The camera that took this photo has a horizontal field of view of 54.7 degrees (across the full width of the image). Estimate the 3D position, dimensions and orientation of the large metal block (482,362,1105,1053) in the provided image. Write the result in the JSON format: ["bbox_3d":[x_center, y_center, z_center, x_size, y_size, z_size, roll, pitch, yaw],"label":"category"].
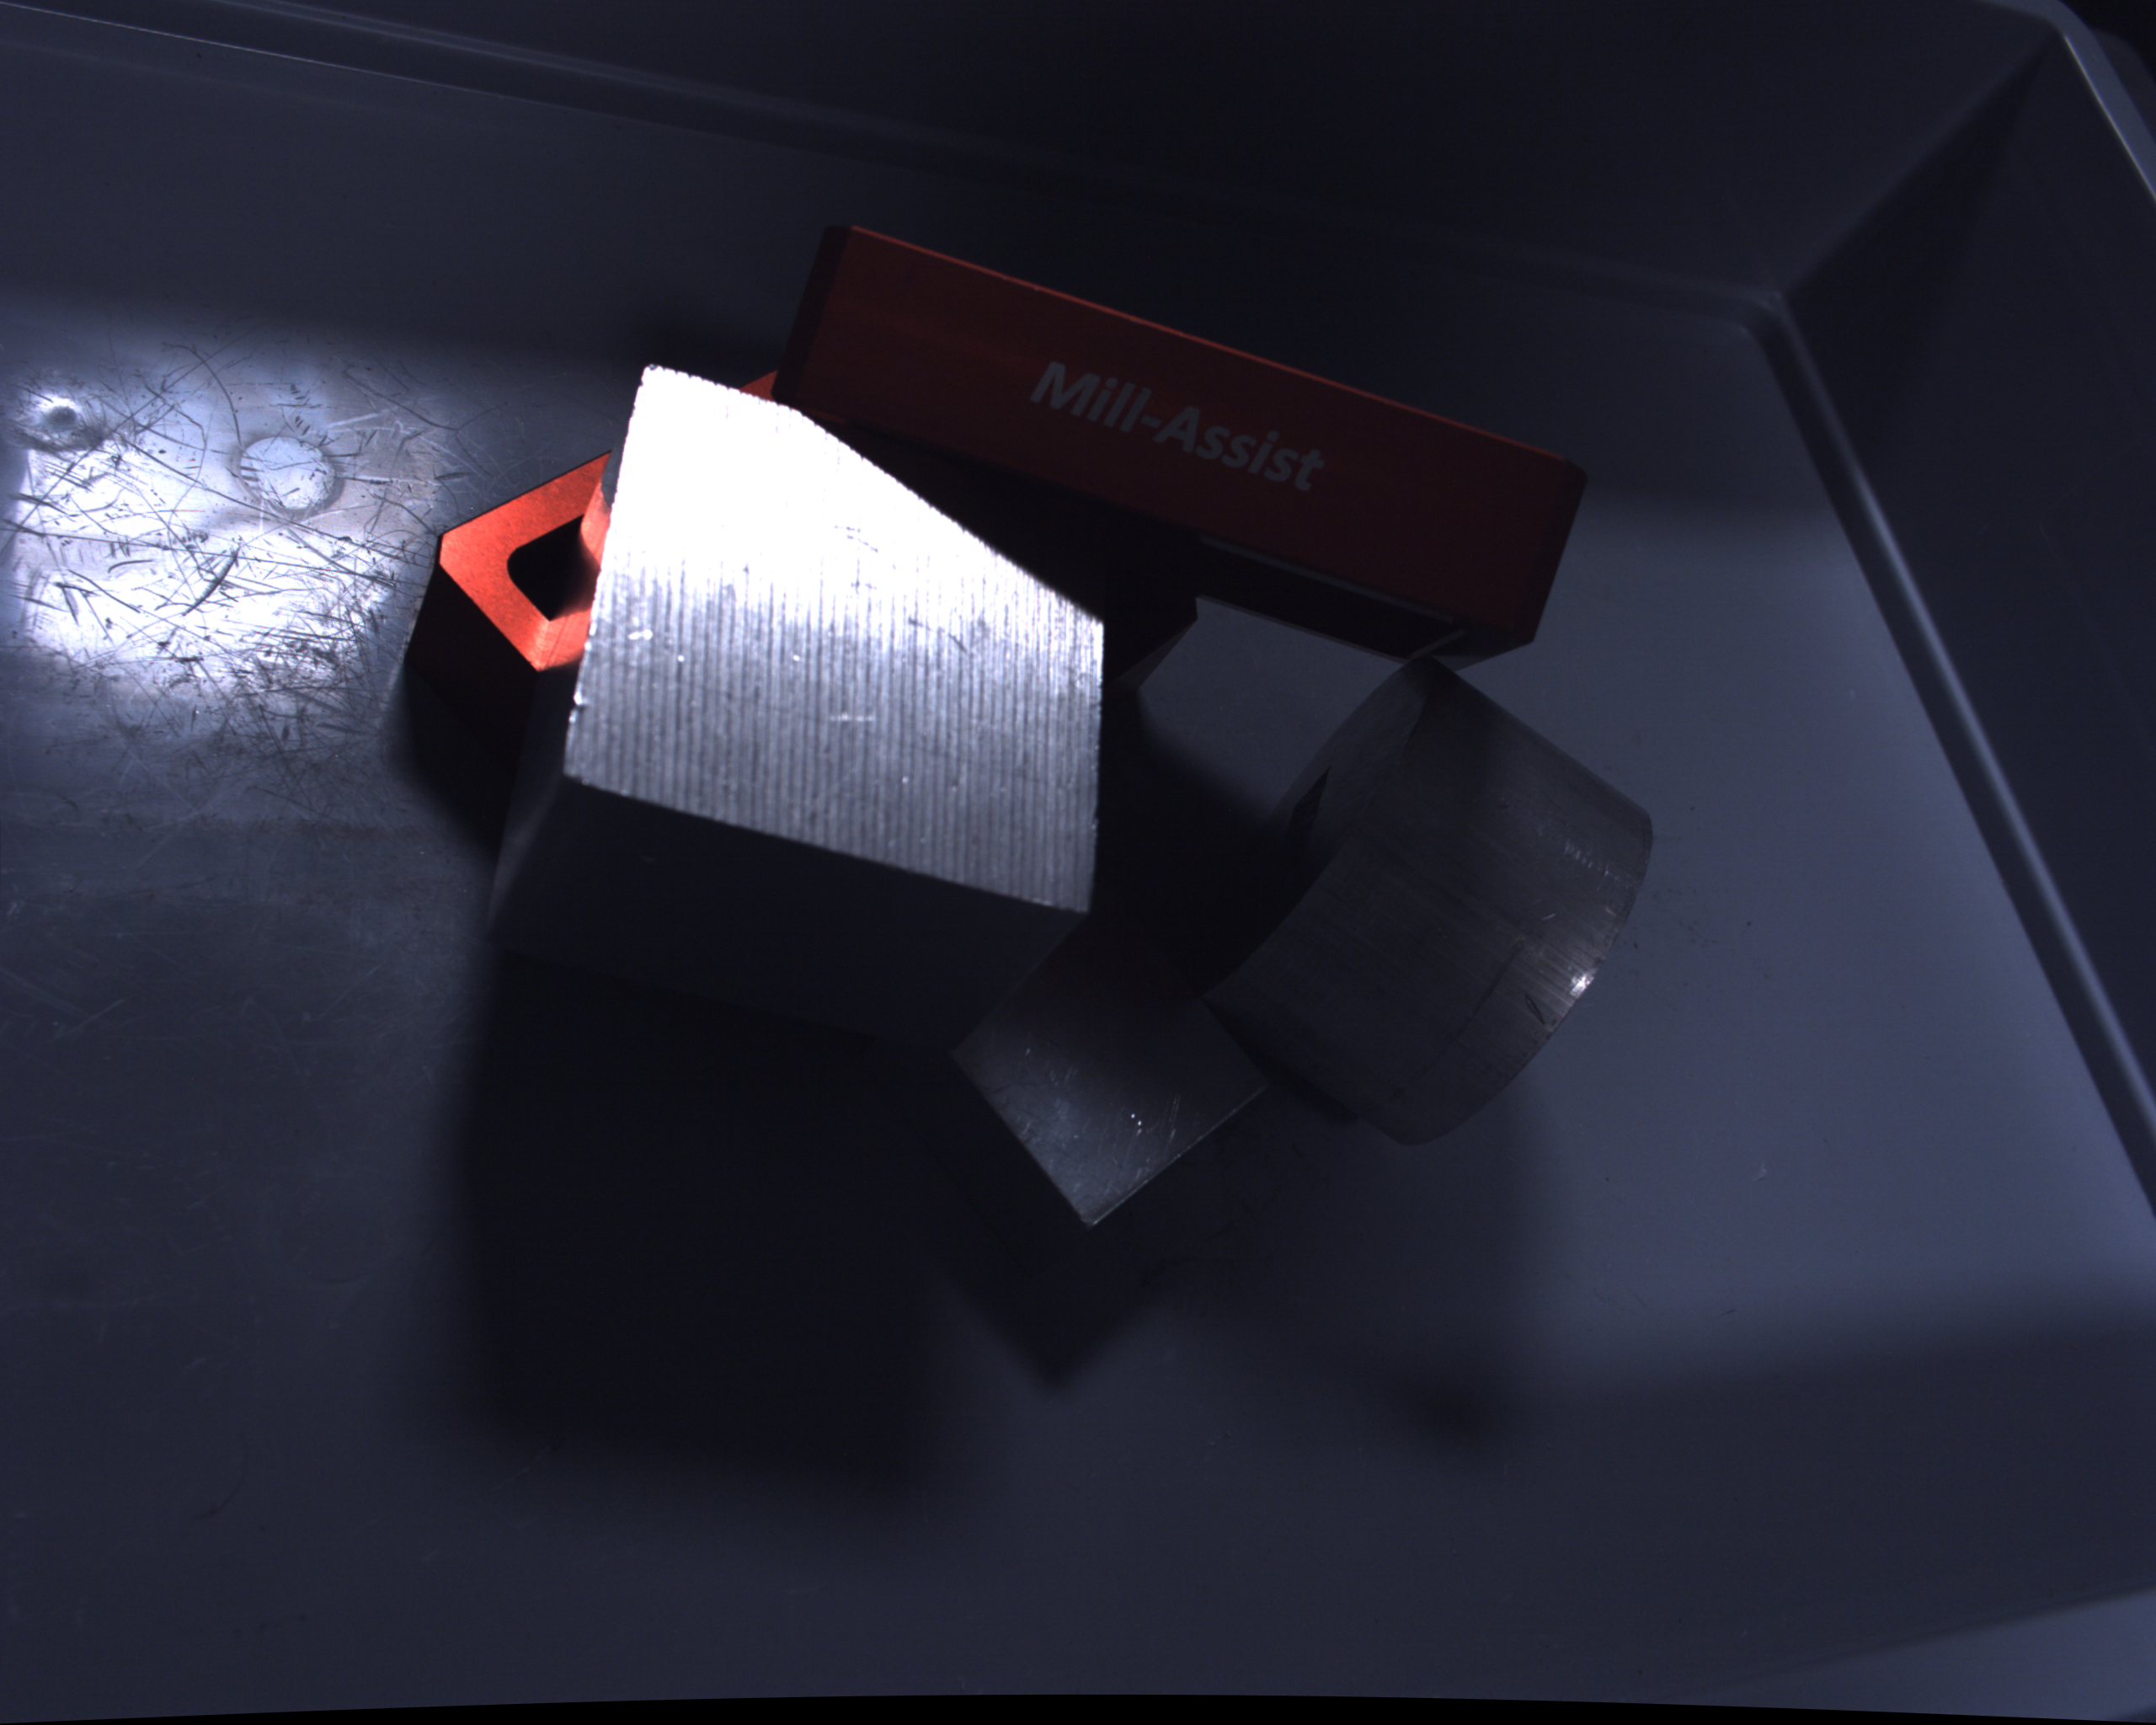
[{"bbox_3d":[-0.044,-0.023,0.338,0.081,0.050,0.080,15,56,-20],"label":"large metal block"}]

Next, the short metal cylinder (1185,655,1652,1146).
[{"bbox_3d":[0.064,0.007,0.401,0.050,0.080,0.080,34,51,-6],"label":"short metal cylinder"}]

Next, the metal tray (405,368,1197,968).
[{"bbox_3d":[-0.049,-0.047,0.403,0.090,0.030,0.131,47,51,4],"label":"metal tray"}]

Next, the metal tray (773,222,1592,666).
[{"bbox_3d":[0.017,-0.071,0.379,0.131,0.090,0.030,18,92,-1],"label":"metal tray"}]

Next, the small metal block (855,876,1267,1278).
[{"bbox_3d":[-0.003,0.038,0.380,0.050,0.025,0.050,-33,80,-38],"label":"small metal block"}]
